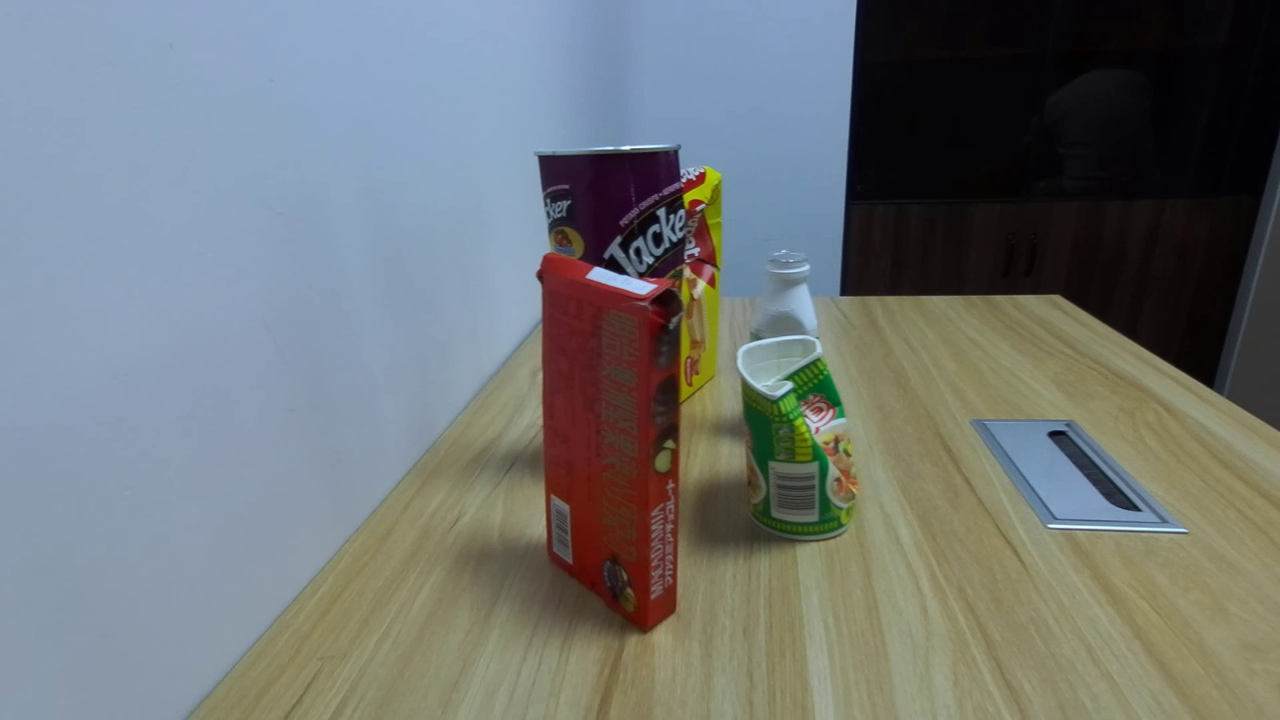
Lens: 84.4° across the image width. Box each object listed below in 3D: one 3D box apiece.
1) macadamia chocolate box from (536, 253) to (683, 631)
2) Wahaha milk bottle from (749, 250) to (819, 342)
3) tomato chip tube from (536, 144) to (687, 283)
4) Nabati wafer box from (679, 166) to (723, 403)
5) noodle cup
[{"bbox_3d":[-0.019,0.041,0.381,0.027,0.187,0.102,-15,24,-39],"label":"macadamia chocolate box"},{"bbox_3d":[0.115,-0.011,0.557,0.055,0.149,0.055,-4,30,3],"label":"Wahaha milk bottle"},{"bbox_3d":[-0.013,-0.029,0.504,0.077,0.235,0.076,8,18,41],"label":"tomato chip tube"},{"bbox_3d":[0.035,-0.066,0.640,0.042,0.204,0.107,10,23,30],"label":"Nabati wafer box"},{"bbox_3d":[0.103,0.049,0.450,0.083,0.122,0.075,-23,21,-24],"label":"noodle cup"}]
